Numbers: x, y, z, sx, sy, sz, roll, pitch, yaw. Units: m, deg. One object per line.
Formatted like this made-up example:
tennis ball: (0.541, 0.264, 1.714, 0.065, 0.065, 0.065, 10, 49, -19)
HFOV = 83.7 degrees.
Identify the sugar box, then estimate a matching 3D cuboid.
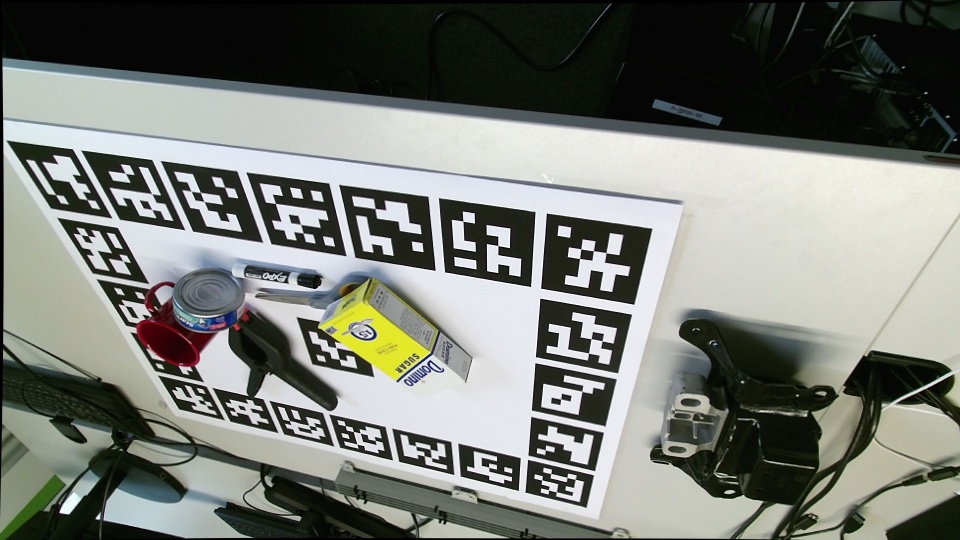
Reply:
sugar box: (-0.108, 0.093, 0.684, 0.093, 0.045, 0.177, -25, 122, 33)

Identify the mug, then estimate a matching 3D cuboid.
mug: (-0.415, 0.069, 0.757, 0.093, 0.081, 0.117, -15, 124, 28)

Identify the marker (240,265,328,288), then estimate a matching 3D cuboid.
marker: (-0.252, 0.008, 0.690, 0.121, 0.019, 0.019, 6, 127, 14)

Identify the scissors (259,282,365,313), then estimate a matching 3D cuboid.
scissors: (-0.208, 0.049, 0.704, 0.203, 0.016, 0.088, 1, 131, 20)

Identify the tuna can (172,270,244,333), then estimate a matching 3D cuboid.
tuna can: (-0.359, 0.039, 0.708, 0.086, 0.085, 0.034, 22, 131, 1)

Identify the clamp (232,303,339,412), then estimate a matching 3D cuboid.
clamp: (-0.318, 0.137, 0.817, 0.166, 0.036, 0.203, 1, 126, 19)
